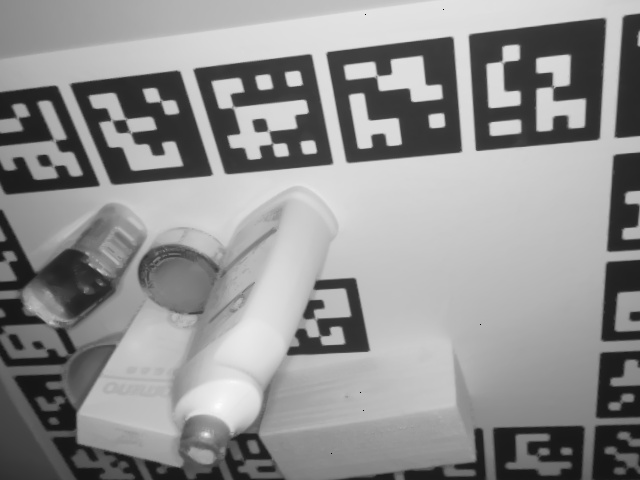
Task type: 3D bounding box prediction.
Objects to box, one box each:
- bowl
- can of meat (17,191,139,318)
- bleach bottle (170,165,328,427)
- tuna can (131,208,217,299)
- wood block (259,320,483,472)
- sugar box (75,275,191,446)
[{"bbox_3d":[-0.203,0.148,0.758,0.162,0.055,0.160,1,122,2],"label":"bowl"},{"bbox_3d":[-0.226,0.012,0.661,0.100,0.084,0.058,-35,115,27],"label":"can of meat"},{"bbox_3d":[-0.057,0.039,0.553,0.101,0.253,0.068,-31,115,24],"label":"bleach bottle"},{"bbox_3d":[-0.135,0.013,0.672,0.085,0.034,0.085,3,120,6],"label":"tuna can"},{"bbox_3d":[0.055,0.163,0.719,0.204,0.091,0.091,-15,115,17],"label":"wood block"},{"bbox_3d":[-0.152,0.105,0.648,0.093,0.178,0.045,10,122,-2],"label":"sugar box"}]
